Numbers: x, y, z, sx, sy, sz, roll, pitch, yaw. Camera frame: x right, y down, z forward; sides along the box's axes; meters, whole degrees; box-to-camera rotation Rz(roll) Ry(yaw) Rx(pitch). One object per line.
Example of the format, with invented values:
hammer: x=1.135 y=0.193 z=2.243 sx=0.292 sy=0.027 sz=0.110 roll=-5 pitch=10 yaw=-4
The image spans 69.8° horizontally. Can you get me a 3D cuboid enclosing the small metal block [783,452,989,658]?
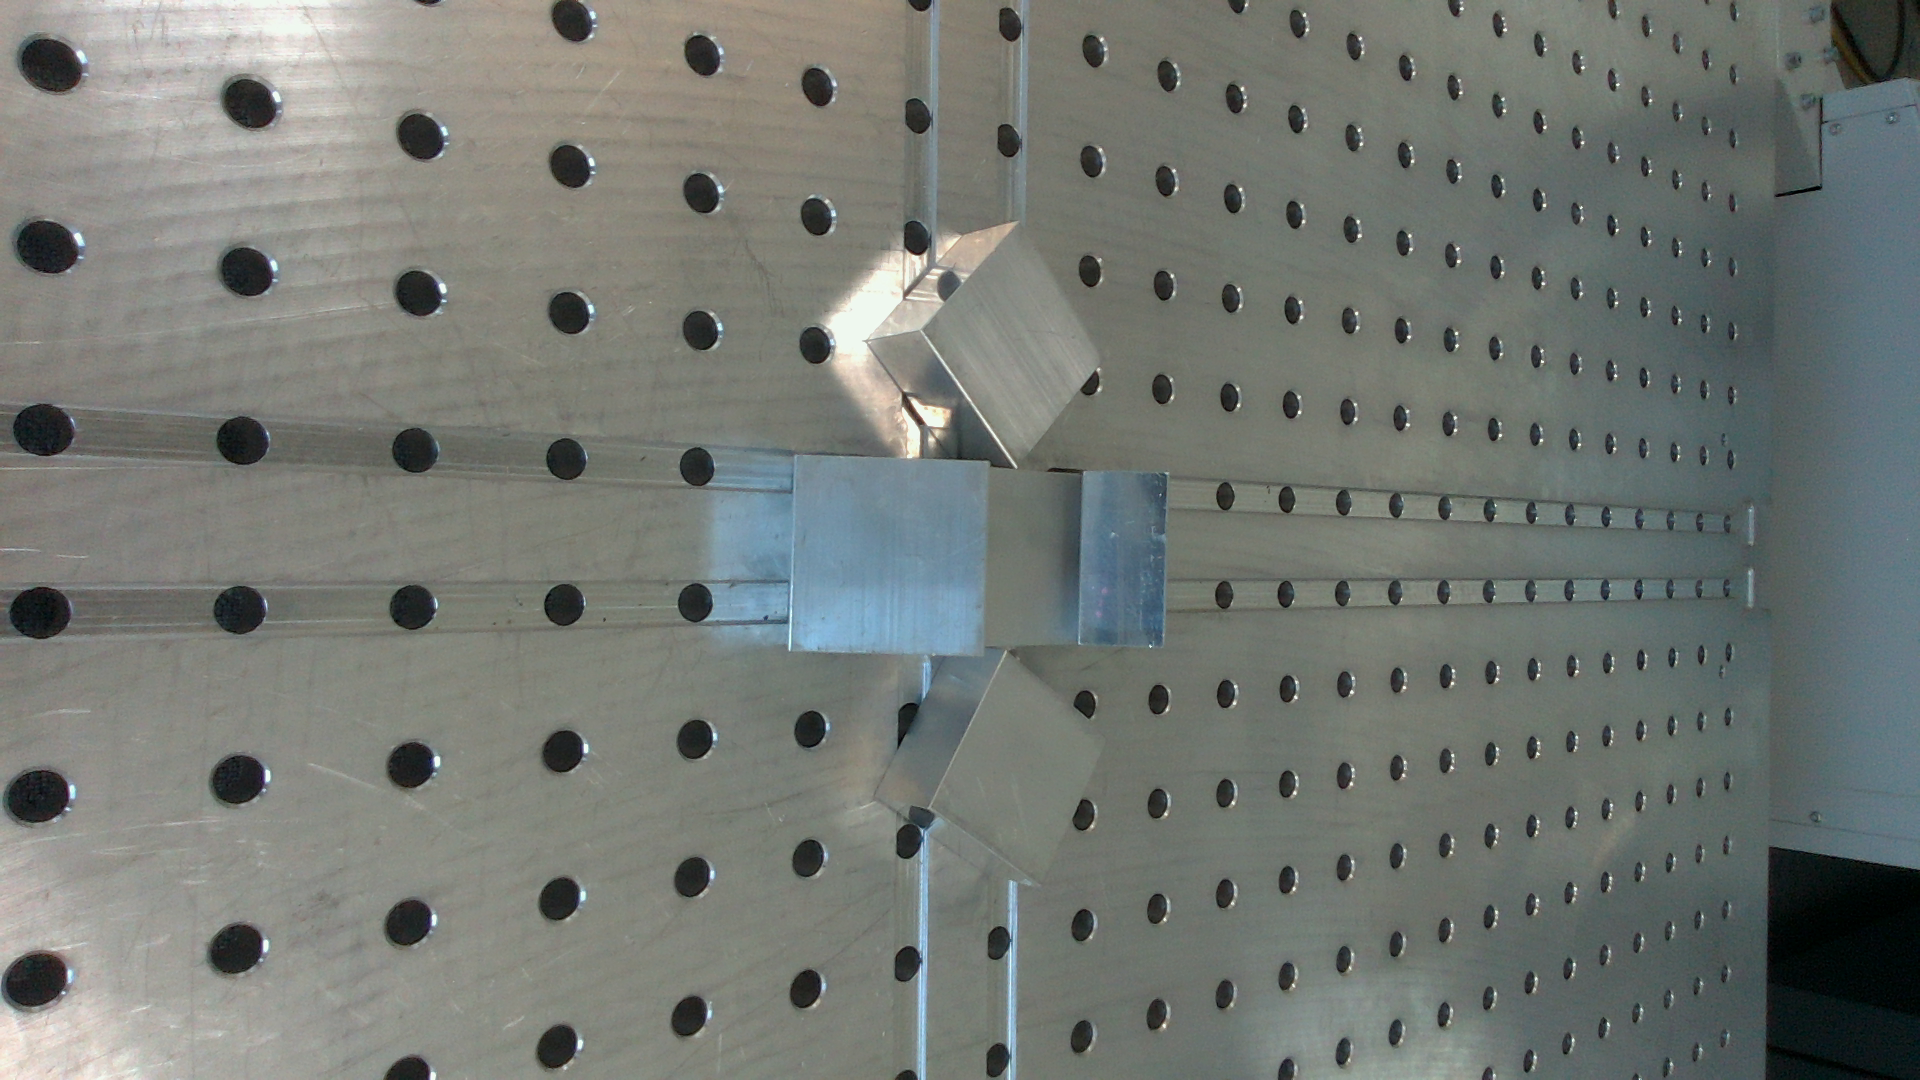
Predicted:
small metal block: x=-0.019 y=0.004 z=0.359 sx=0.050 sy=0.025 sz=0.050 roll=2 pitch=89 yaw=-3

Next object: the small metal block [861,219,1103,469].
small metal block: x=0.008 y=-0.055 z=0.398 sx=0.050 sy=0.025 sz=0.050 roll=-52 pitch=119 yaw=-28

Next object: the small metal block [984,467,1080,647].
small metal block: x=0.008 y=0.005 z=0.398 sx=0.050 sy=0.025 sz=0.050 roll=2 pitch=88 yaw=-40

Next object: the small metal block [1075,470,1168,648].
small metal block: x=0.050 y=0.006 z=0.416 sx=0.050 sy=0.025 sz=0.050 roll=12 pitch=80 yaw=-80

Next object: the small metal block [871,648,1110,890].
small metal block: x=0.010 y=0.065 z=0.399 sx=0.050 sy=0.025 sz=0.050 roll=41 pitch=66 yaw=-31
